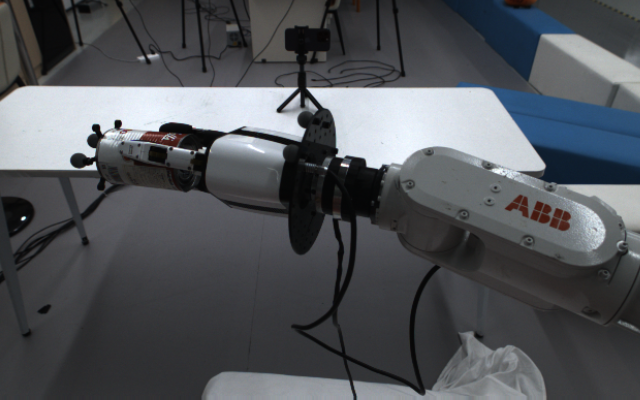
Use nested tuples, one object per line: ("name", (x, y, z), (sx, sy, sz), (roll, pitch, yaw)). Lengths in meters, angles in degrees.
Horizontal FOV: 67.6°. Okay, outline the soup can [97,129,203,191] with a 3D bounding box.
("soup can", (-0.196, -0.047, 0.568), (0.101, 0.067, 0.067), (6, 35, 12))
